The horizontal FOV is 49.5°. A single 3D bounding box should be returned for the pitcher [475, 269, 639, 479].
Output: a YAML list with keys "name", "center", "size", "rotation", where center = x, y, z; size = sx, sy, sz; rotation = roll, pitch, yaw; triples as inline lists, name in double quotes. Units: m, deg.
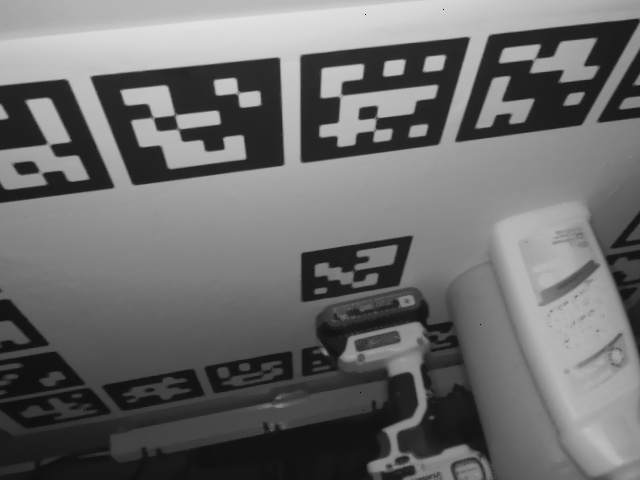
- name: "pitcher"
  center: [0.251, 0.147, 0.679]
  size: [0.188, 0.243, 0.133]
  rotation: [-20, 144, 7]

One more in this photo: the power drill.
- name: "power drill"
  center: [0.083, 0.164, 0.654]
  size: [0.185, 0.188, 0.057]
  rotation: [-3, 141, -7]

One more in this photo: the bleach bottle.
- name: "bleach bottle"
  center: [0.281, 0.102, 0.592]
  size: [0.103, 0.251, 0.067]
  rotation: [-9, 145, -9]
